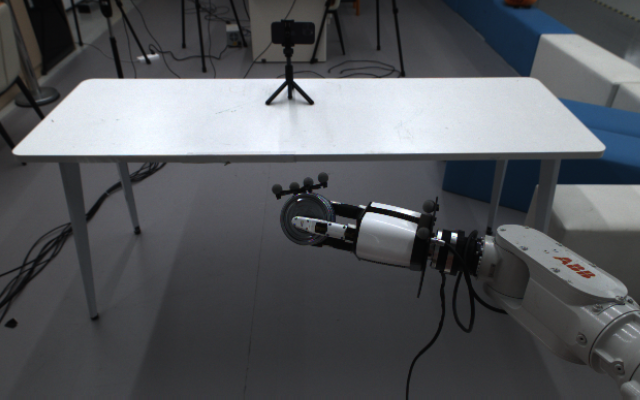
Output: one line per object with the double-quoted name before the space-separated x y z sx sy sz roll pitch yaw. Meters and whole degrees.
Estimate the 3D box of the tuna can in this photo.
"tuna can" -0.017 0.036 0.773 0.085 0.085 0.034 12 3 14
